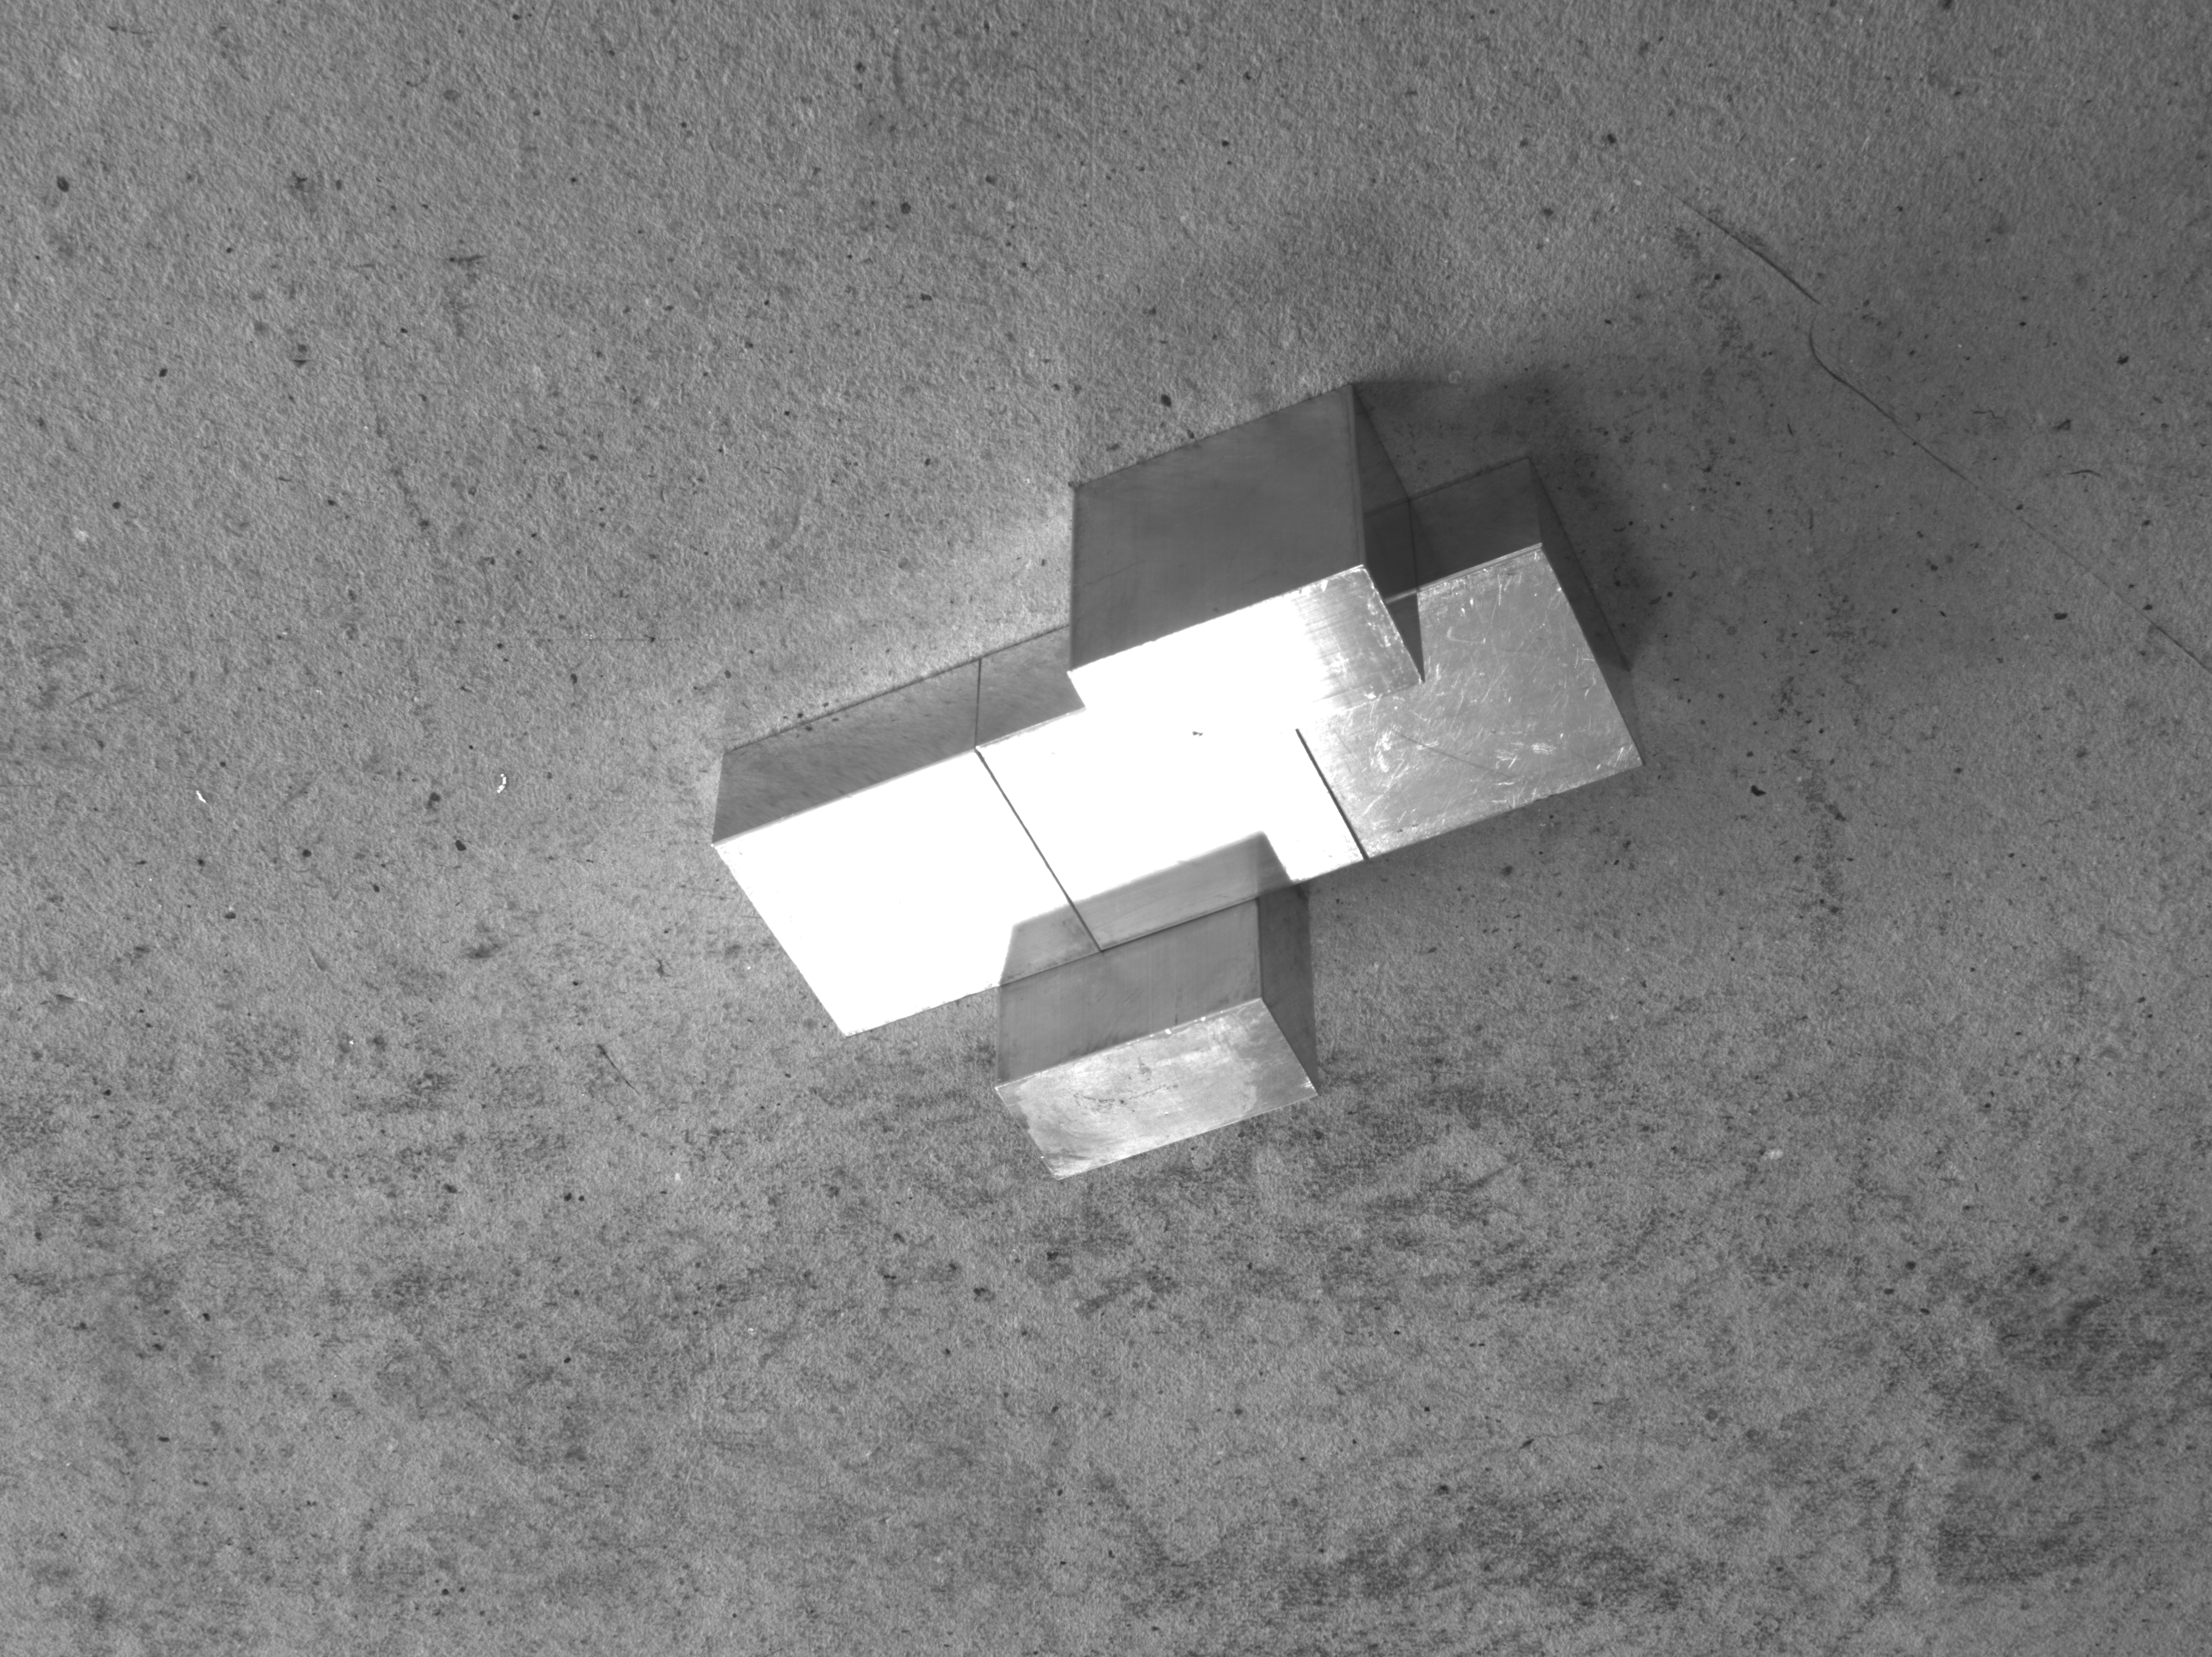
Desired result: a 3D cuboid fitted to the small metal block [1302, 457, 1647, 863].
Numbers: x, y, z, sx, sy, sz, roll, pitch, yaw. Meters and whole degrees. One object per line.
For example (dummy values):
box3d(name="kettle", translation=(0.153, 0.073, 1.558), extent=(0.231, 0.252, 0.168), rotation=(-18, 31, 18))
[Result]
box3d(name="small metal block", translation=(0.057, -0.027, 0.616), extent=(0.050, 0.025, 0.050), rotation=(-19, 128, 15))

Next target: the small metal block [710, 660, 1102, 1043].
box3d(name="small metal block", translation=(-0.034, 0.005, 0.643), extent=(0.050, 0.025, 0.050), rotation=(-19, 128, 15))

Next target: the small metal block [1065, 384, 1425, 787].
box3d(name="small metal block", translation=(0.022, -0.039, 0.591), extent=(0.050, 0.050, 0.025), rotation=(-19, 127, 16))

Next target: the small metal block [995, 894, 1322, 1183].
box3d(name="small metal block", translation=(0.009, 0.029, 0.648), extent=(0.050, 0.050, 0.025), rotation=(-19, 127, 16))

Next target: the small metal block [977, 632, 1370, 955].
box3d(name="small metal block", translation=(0.012, -0.011, 0.629), extent=(0.050, 0.025, 0.050), rotation=(-19, 128, 15))
